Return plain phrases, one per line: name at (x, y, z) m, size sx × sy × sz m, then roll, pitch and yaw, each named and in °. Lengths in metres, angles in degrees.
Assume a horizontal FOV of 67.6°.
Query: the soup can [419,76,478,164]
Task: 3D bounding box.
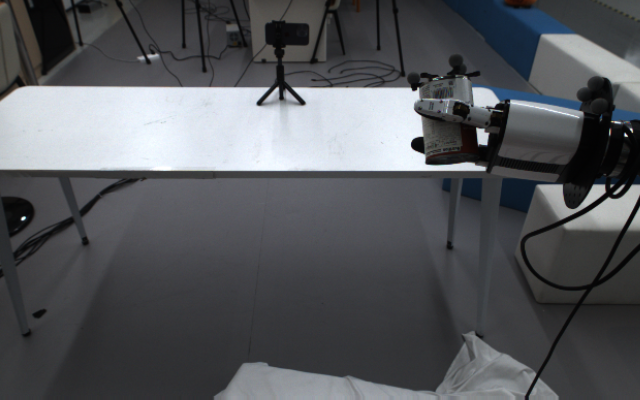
soup can at (0.166, -0.101, 0.624) m, size 0.067 × 0.101 × 0.067 m, roll -5°, pitch -5°, yaw 0°
